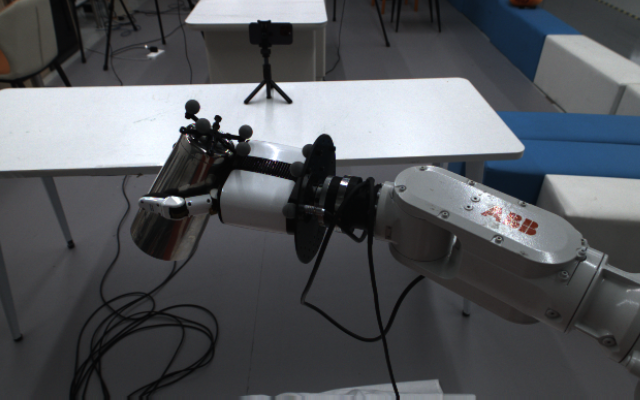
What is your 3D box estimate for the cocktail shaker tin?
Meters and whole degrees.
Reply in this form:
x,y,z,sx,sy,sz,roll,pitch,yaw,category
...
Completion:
x,y,z,sx,sy,sz,roll,pitch,yaw,category
-0.172,-0.014,0.625,0.093,0.170,0.093,26,32,-18,cocktail shaker tin
